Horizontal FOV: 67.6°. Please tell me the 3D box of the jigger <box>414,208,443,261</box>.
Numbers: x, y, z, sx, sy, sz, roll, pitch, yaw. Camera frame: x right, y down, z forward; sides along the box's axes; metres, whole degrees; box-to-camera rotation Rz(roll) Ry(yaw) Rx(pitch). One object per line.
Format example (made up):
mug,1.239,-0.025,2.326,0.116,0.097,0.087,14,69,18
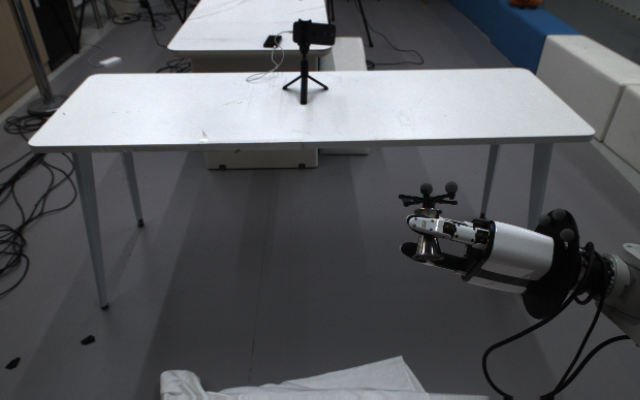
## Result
jigger,0.153,0.047,0.693,0.043,0.043,0.071,3,75,1
